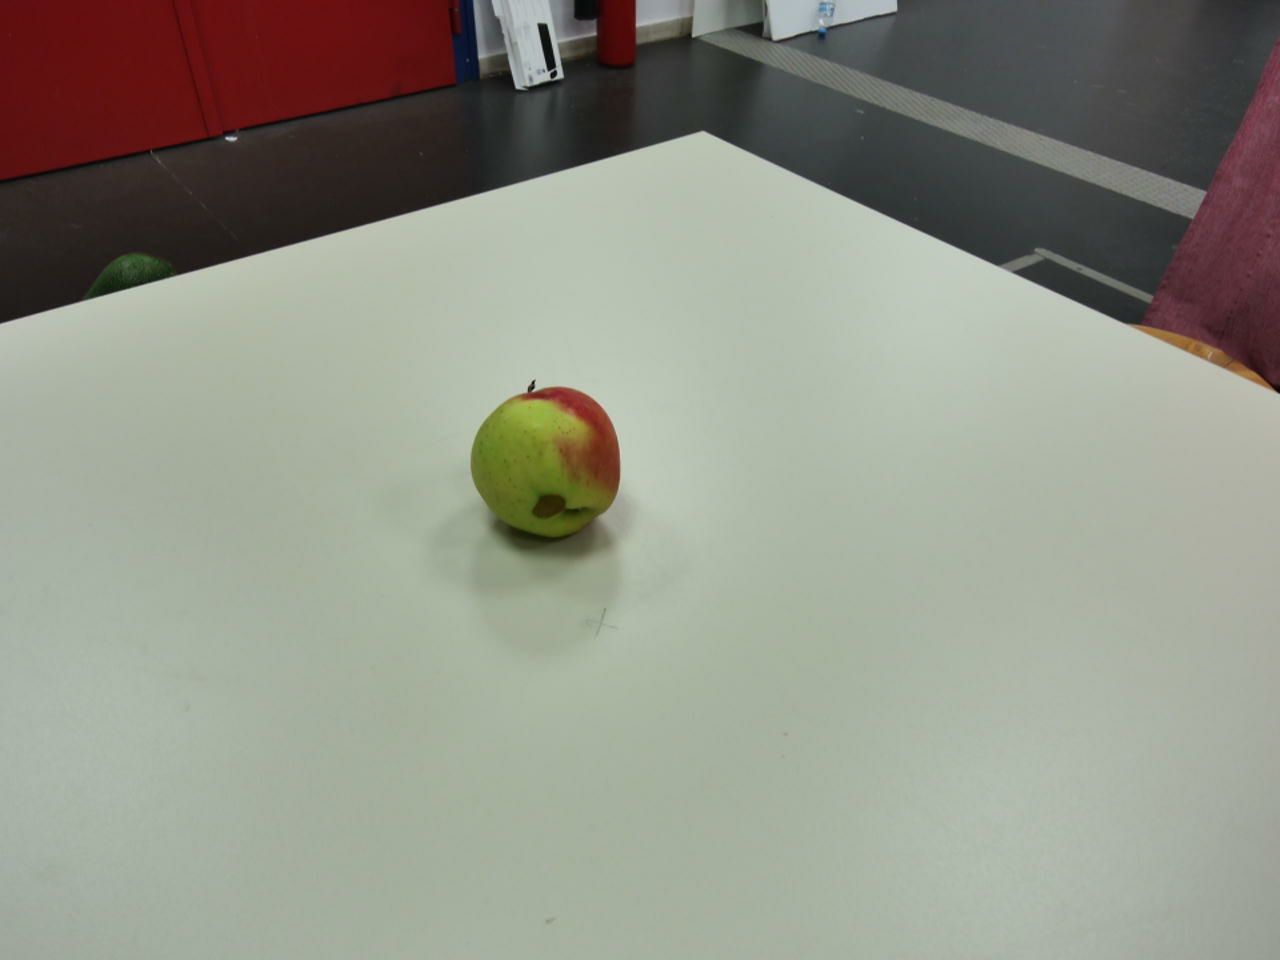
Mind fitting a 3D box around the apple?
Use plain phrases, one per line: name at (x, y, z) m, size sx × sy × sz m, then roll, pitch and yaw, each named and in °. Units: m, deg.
apple at (-0.046, -0.011, 0.504) m, size 0.075 × 0.074 × 0.075 m, roll 22°, pitch 42°, yaw 25°
